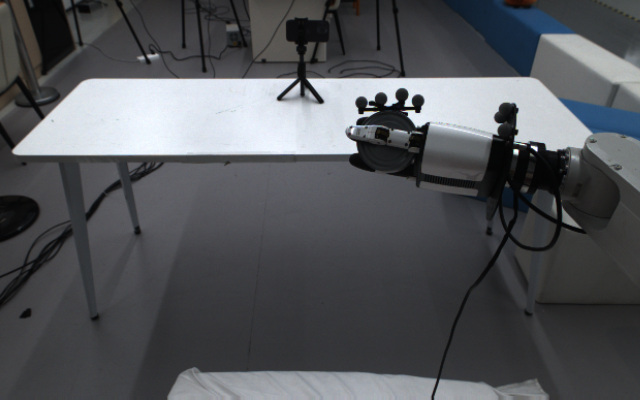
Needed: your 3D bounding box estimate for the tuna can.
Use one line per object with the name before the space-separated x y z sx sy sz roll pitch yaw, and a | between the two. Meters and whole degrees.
tuna can | 0.098 -0.077 0.680 0.085 0.085 0.034 13 -2 15
